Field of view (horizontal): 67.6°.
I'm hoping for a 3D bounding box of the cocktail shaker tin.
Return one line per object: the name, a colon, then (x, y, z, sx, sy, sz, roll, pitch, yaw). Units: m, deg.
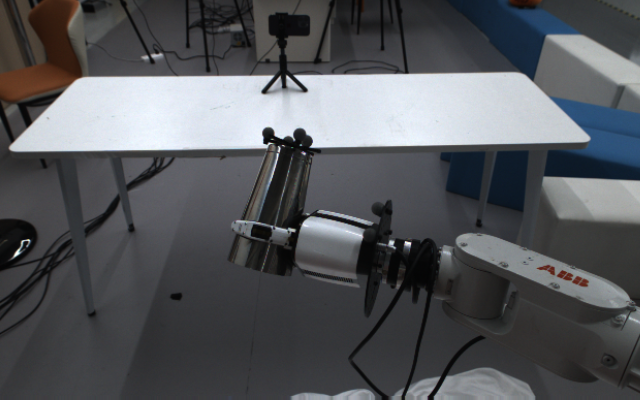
cocktail shaker tin: (-0.064, 0.013, 0.681, 0.093, 0.170, 0.093, 15, -4, 1)
